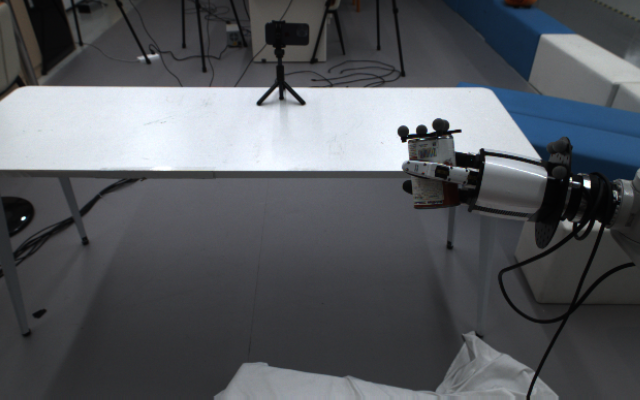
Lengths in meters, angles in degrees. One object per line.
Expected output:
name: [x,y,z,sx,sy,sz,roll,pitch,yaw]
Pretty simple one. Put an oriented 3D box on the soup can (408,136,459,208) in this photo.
soup can: [0.169,-0.041,0.713,0.067,0.101,0.067,-6,3,0]
